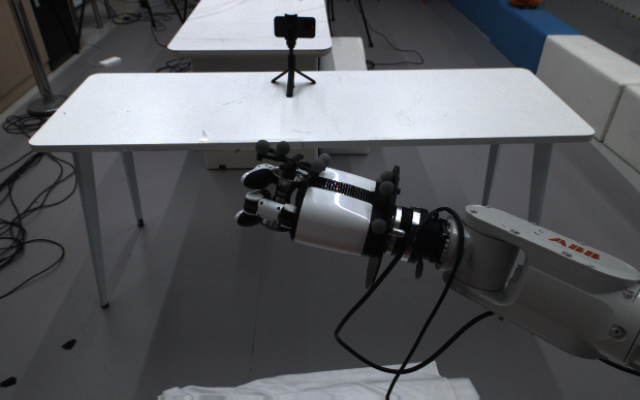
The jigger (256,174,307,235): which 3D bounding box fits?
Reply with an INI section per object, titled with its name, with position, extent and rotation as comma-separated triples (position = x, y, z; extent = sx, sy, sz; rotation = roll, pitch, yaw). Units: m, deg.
[jigger]
position = -0.045, 0.000, 0.610
extent = 0.043, 0.071, 0.043
rotation = 15, 17, -5
